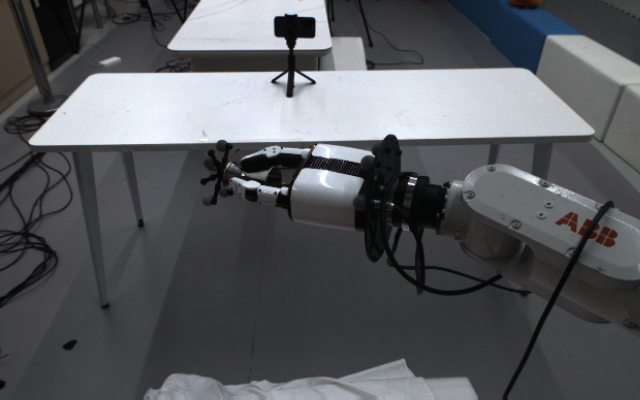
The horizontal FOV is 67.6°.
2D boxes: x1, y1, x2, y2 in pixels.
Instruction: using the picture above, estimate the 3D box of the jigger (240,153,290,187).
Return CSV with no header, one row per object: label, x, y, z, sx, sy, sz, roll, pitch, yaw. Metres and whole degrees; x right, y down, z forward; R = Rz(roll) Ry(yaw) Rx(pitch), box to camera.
jigger,-0.087,-0.031,0.662,0.071,0.043,0.043,10,35,22
